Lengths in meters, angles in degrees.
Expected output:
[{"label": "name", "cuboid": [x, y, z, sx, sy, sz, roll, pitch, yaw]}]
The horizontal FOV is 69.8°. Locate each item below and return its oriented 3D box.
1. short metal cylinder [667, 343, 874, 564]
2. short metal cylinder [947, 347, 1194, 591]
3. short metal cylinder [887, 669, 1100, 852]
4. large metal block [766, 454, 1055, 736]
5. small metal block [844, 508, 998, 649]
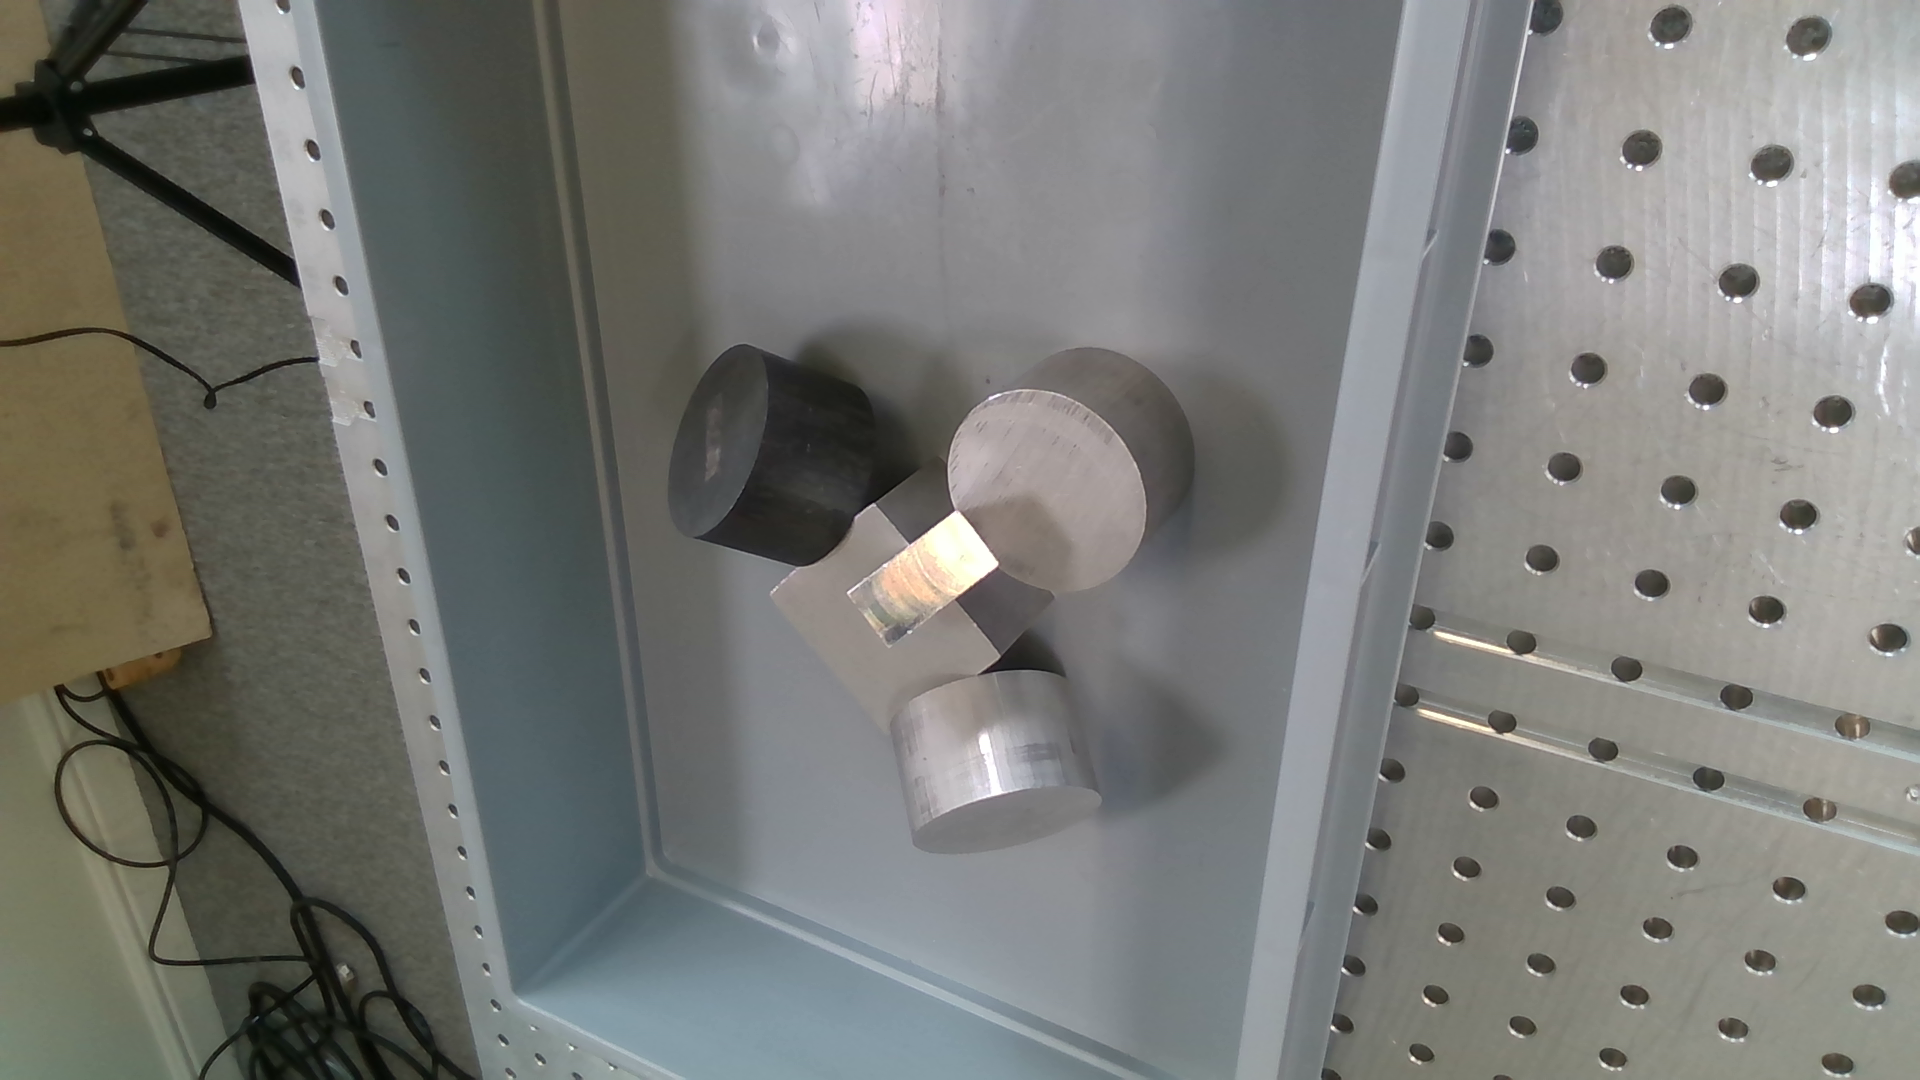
[{"label": "short metal cylinder", "cuboid": [-0.079, -0.034, 0.565, 0.080, 0.050, 0.080, -27, 54, 46]}, {"label": "short metal cylinder", "cuboid": [0.042, -0.028, 0.522, 0.080, 0.050, 0.080, 14, 122, 25]}, {"label": "short metal cylinder", "cuboid": [0.013, 0.094, 0.578, 0.080, 0.080, 0.050, -39, 53, 39]}, {"label": "large metal block", "cuboid": [-0.022, 0.024, 0.587, 0.080, 0.050, 0.080, 51, 129, -2]}, {"label": "small metal block", "cuboid": [-0.016, 0.014, 0.516, 0.050, 0.050, 0.025, -37, 91, -4]}]
